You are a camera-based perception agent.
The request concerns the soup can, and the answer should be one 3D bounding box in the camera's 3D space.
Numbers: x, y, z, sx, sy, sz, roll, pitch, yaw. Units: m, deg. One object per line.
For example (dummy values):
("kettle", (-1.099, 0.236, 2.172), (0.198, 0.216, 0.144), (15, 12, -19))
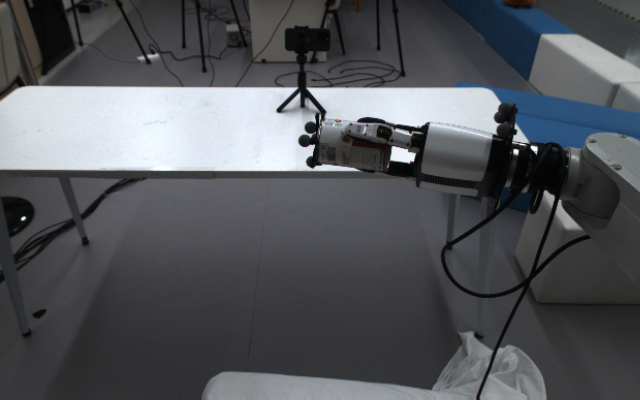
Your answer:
("soup can", (0.053, -0.080, 0.697), (0.101, 0.067, 0.067), (7, 35, 10))
